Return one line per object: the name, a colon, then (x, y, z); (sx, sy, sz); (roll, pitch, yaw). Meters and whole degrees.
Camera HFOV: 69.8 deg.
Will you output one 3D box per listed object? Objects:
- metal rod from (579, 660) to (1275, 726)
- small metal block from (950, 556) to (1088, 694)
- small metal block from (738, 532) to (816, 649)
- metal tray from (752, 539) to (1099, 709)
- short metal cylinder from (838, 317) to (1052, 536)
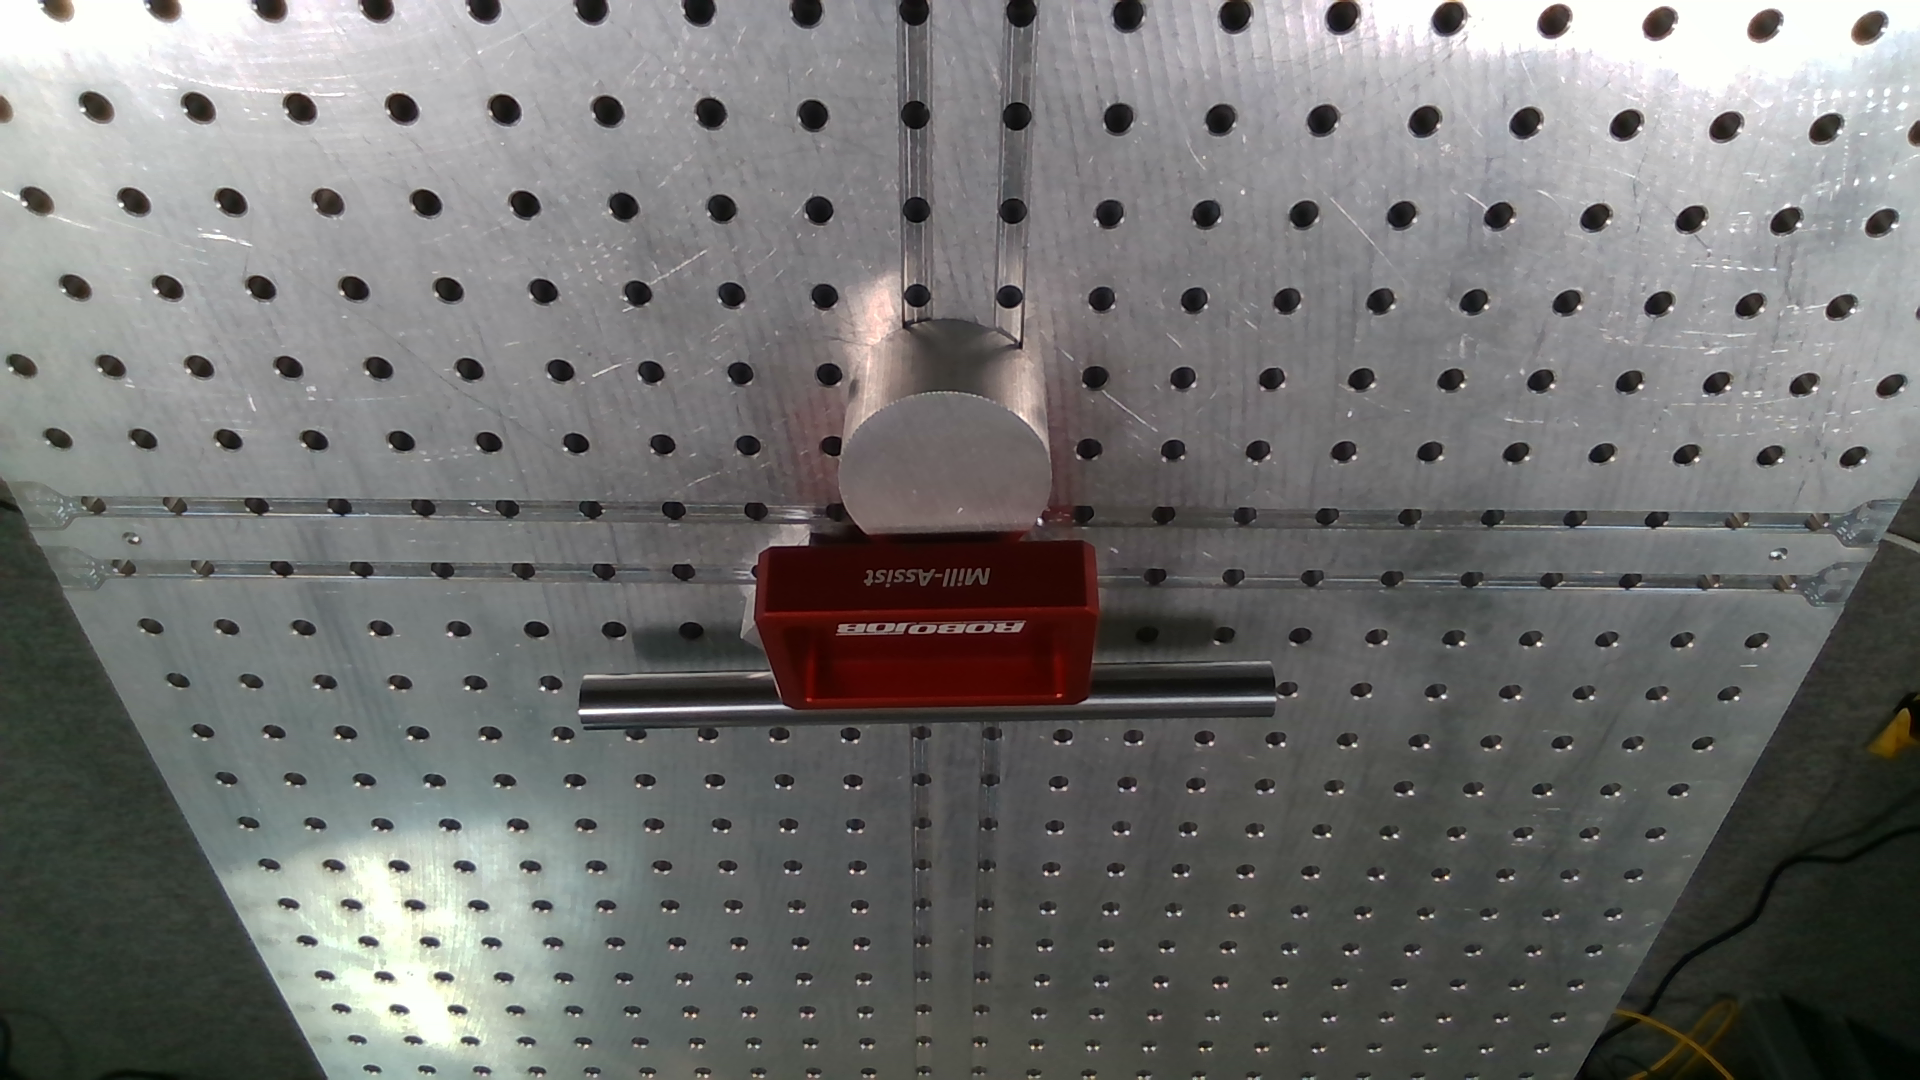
metal rod: (-0.015, 0.067, 0.606); (0.300, 0.025, 0.025); (-1, 130, 1)
small metal block: (0.027, 0.038, 0.615); (0.050, 0.025, 0.050); (-12, 129, 10)
small metal block: (-0.062, 0.032, 0.607); (0.050, 0.025, 0.050); (32, 123, -24)
metal tray: (-0.012, 0.036, 0.557); (0.130, 0.030, 0.090); (-1, 149, 1)
short metal cylinder: (-0.006, -0.039, 0.532); (0.080, 0.050, 0.080); (0, 130, 0)
